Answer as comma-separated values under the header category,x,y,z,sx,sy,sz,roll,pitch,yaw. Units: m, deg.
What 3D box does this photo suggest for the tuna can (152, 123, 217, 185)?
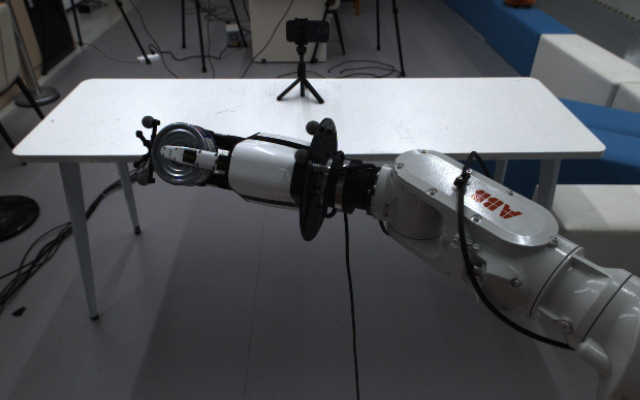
category,x,y,z,sx,sy,sz,roll,pitch,yaw
tuna can,-0.182,-0.059,0.655,0.085,0.085,0.034,10,4,11
